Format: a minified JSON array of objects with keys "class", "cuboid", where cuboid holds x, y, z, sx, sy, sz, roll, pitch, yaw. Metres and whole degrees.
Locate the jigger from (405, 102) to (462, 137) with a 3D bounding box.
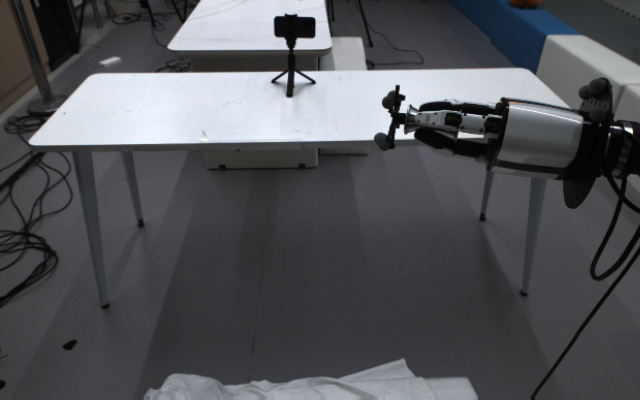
[{"class":"jigger","cuboid":[0.151,-0.108,0.640,0.071,0.043,0.043,10,35,16]}]
